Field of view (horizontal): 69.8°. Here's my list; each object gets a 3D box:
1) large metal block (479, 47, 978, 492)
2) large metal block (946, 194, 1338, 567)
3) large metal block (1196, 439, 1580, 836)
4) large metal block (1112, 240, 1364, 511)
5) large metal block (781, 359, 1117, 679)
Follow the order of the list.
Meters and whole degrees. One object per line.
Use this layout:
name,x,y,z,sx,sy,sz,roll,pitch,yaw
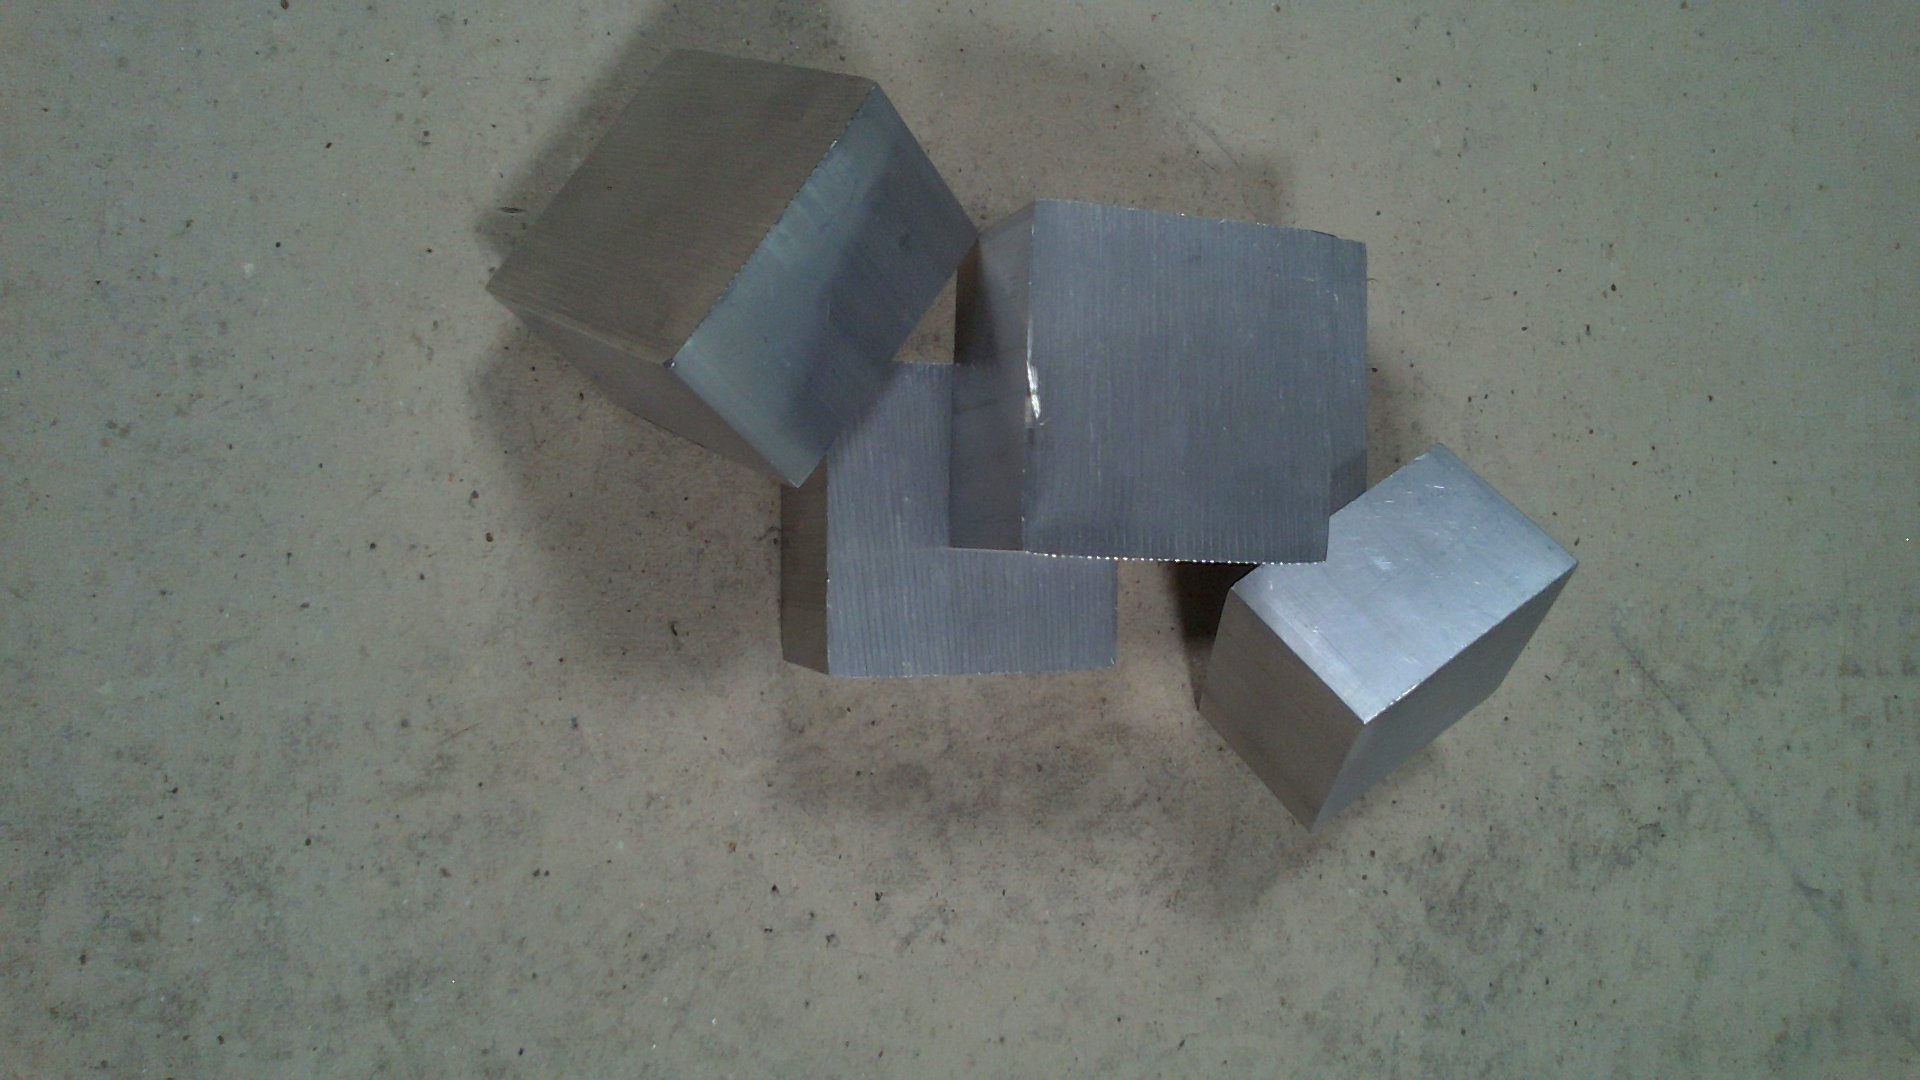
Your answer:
large metal block,-0.056,-0.069,0.337,0.080,0.080,0.050,-56,139,-11
large metal block,0.044,-0.035,0.341,0.080,0.050,0.080,2,89,-20
large metal block,0.120,0.030,0.401,0.080,0.080,0.050,-33,63,-17
large metal block,0.070,-0.046,0.406,0.080,0.050,0.080,0,90,-20
large metal block,-0.004,-0.006,0.377,0.080,0.050,0.080,0,90,-20
